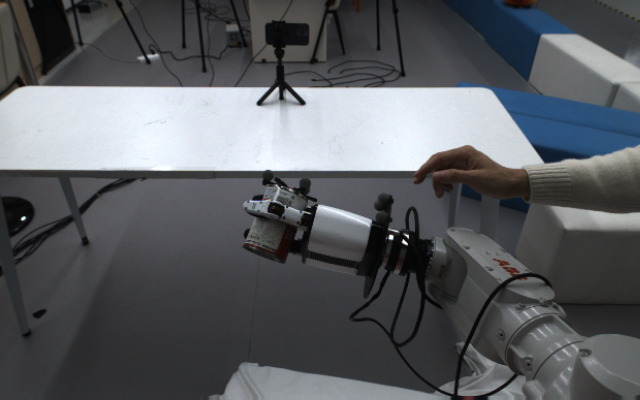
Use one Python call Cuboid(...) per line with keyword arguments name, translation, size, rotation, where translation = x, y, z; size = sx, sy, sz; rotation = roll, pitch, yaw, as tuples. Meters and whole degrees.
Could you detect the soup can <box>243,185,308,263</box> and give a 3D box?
Cuboid(name="soup can", translation=(-0.065, 0.037, 0.725), size=(0.067, 0.067, 0.101), rotation=(16, 75, 19))
